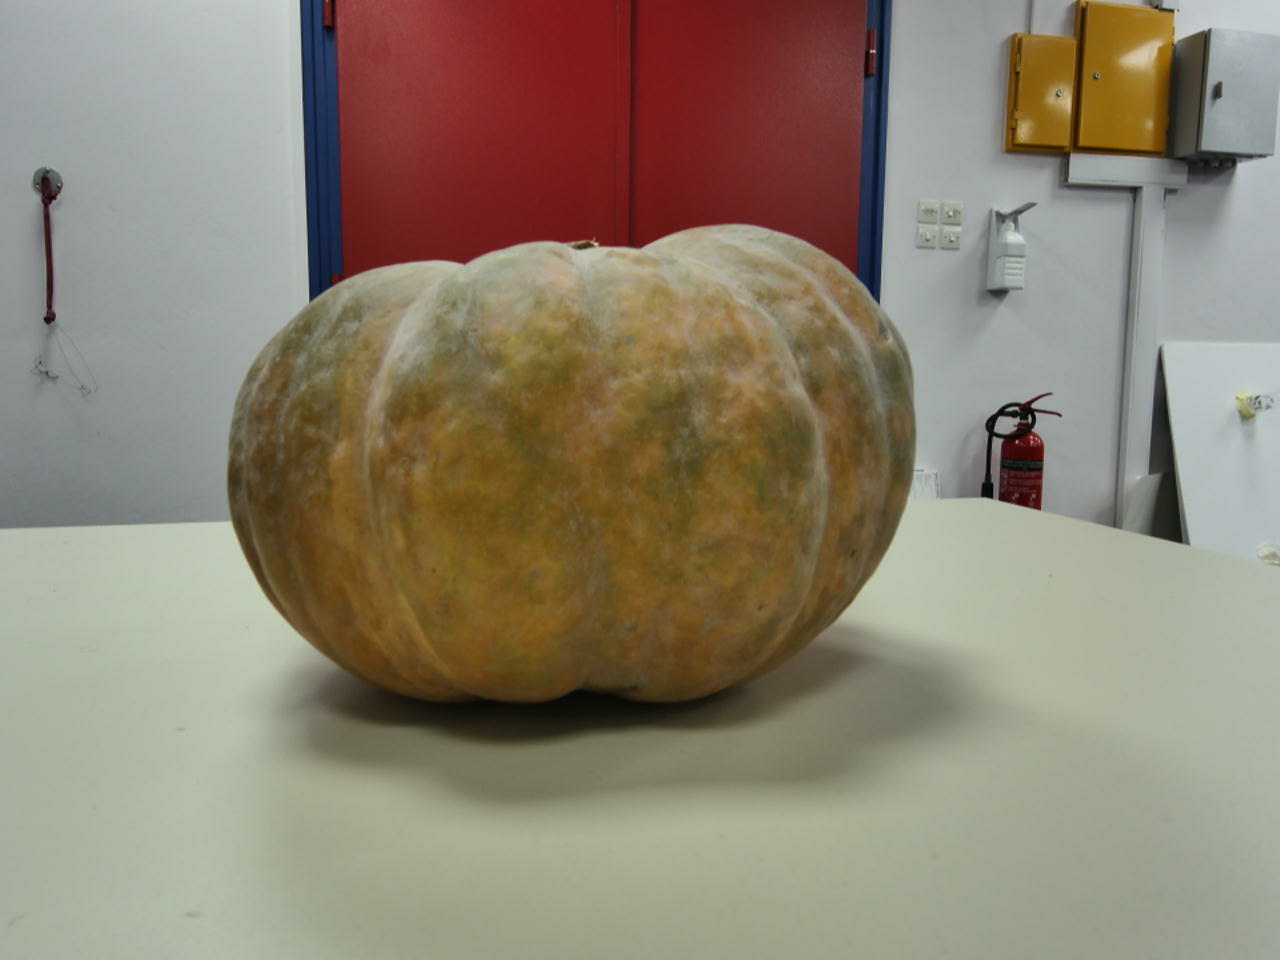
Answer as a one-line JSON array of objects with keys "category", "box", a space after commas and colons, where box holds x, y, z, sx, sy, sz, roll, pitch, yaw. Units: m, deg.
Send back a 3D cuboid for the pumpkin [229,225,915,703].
[{"category": "pumpkin", "box": [-0.026, -0.010, 0.380, 0.252, 0.168, 0.252, 0, 5, 0]}]
